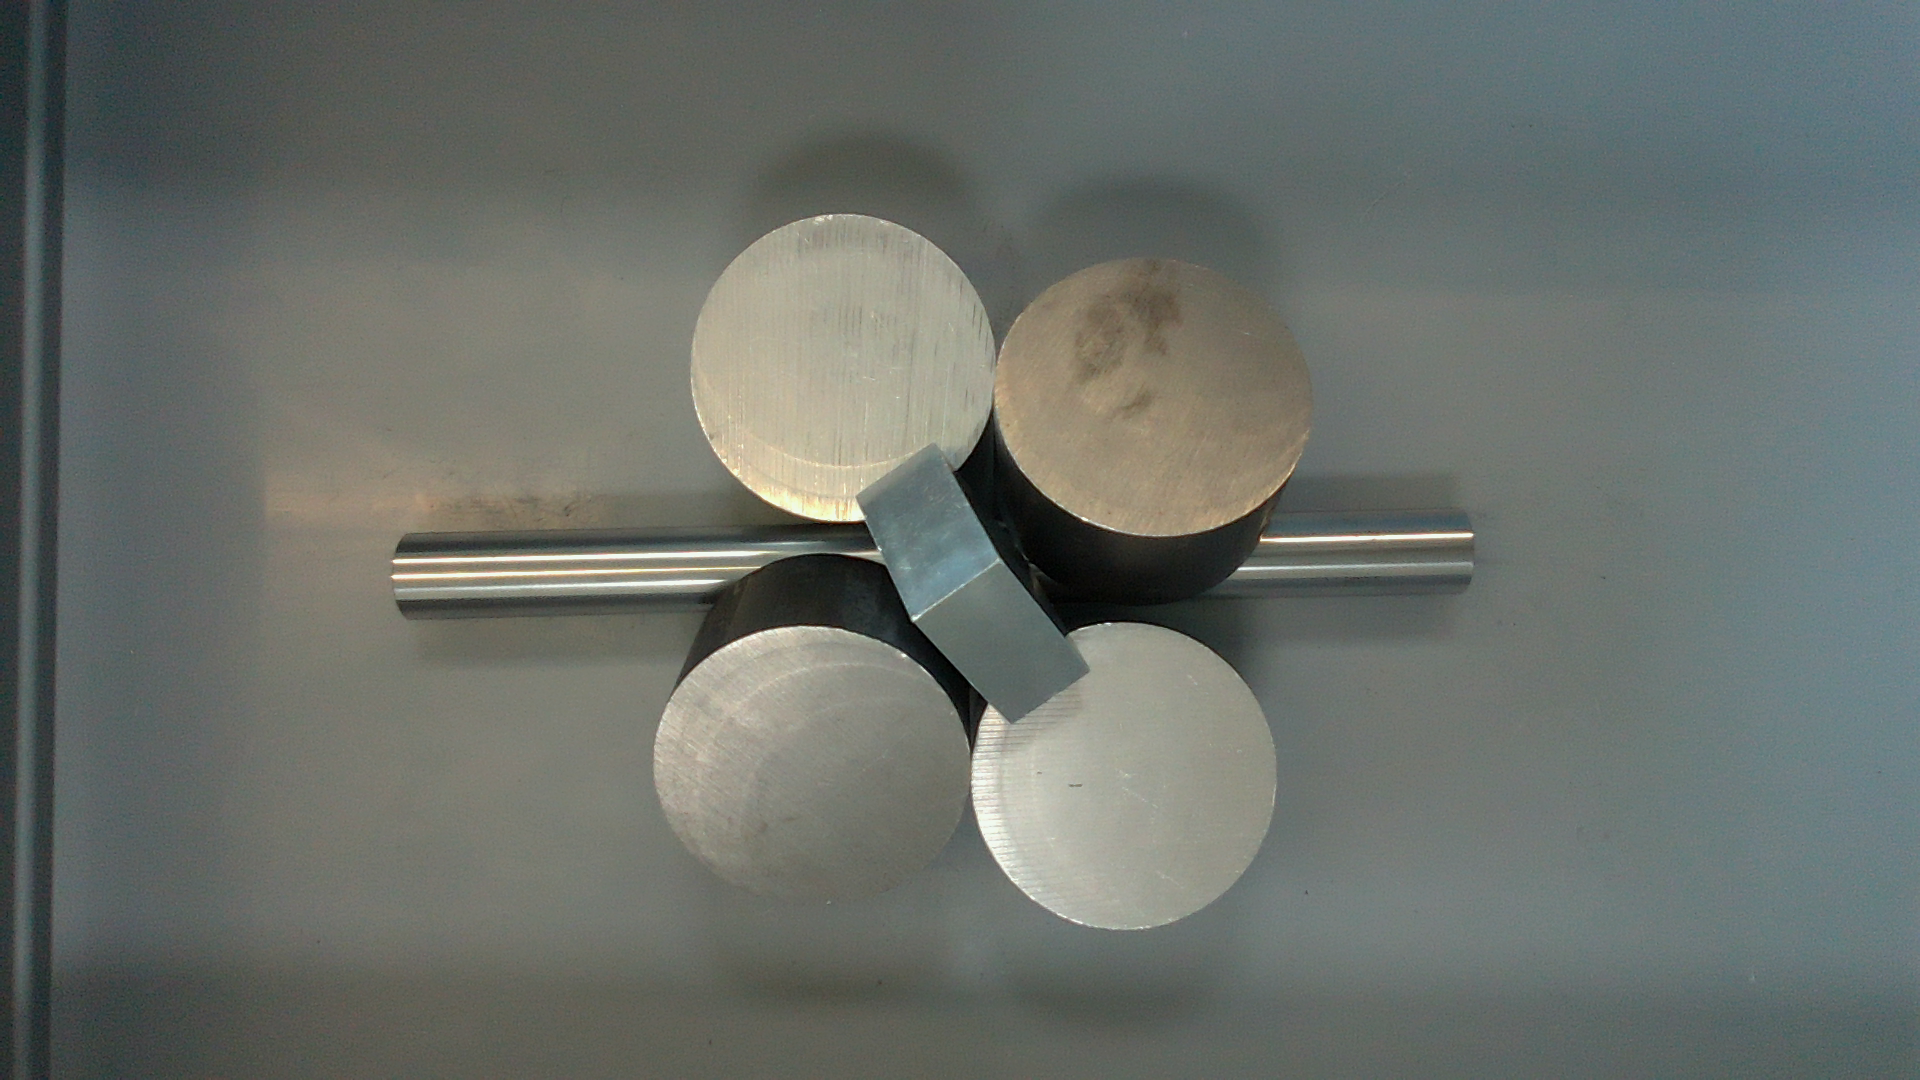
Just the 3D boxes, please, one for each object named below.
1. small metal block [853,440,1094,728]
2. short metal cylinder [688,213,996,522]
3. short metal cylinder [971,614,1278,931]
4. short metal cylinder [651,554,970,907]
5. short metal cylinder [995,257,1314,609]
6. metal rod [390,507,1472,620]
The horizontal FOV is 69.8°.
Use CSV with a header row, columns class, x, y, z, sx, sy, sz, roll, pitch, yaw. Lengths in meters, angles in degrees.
class,x,y,z,sx,sy,sz,roll,pitch,yaw
small metal block,0.003,0.011,0.346,0.025,0.050,0.050,-35,132,6
short metal cylinder,-0.030,-0.045,0.381,0.080,0.050,0.080,0,90,0
short metal cylinder,0.043,0.062,0.382,0.080,0.050,0.080,0,90,0
short metal cylinder,-0.038,0.050,0.370,0.080,0.050,0.080,0,110,-1
short metal cylinder,0.049,-0.028,0.369,0.080,0.050,0.080,0,67,0
metal rod,-0.008,0.007,0.394,0.300,0.025,0.025,-1,90,0
